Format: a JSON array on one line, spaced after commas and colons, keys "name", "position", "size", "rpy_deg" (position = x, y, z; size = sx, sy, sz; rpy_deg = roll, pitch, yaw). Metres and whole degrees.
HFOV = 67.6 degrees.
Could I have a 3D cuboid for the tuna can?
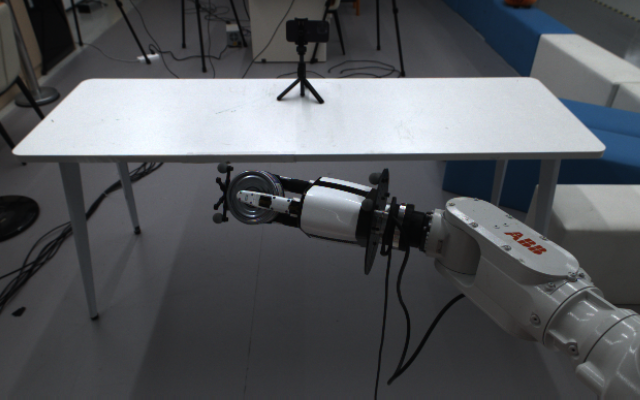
[{"name": "tuna can", "position": [-0.099, -0.005, 0.749], "size": [0.085, 0.085, 0.034], "rpy_deg": [10, 3, 11]}]
